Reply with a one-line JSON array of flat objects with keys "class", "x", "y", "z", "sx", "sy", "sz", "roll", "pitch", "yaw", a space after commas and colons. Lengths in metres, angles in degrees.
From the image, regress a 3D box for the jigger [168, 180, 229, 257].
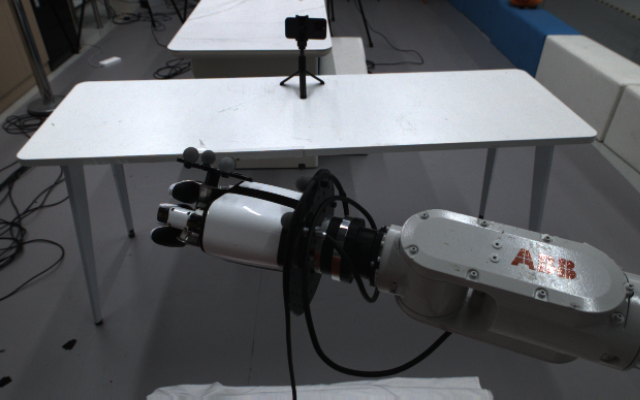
[{"class": "jigger", "x": -0.131, "y": 0.015, "z": 0.547, "sx": 0.043, "sy": 0.071, "sz": 0.043, "roll": 17, "pitch": 2, "yaw": -1}]
